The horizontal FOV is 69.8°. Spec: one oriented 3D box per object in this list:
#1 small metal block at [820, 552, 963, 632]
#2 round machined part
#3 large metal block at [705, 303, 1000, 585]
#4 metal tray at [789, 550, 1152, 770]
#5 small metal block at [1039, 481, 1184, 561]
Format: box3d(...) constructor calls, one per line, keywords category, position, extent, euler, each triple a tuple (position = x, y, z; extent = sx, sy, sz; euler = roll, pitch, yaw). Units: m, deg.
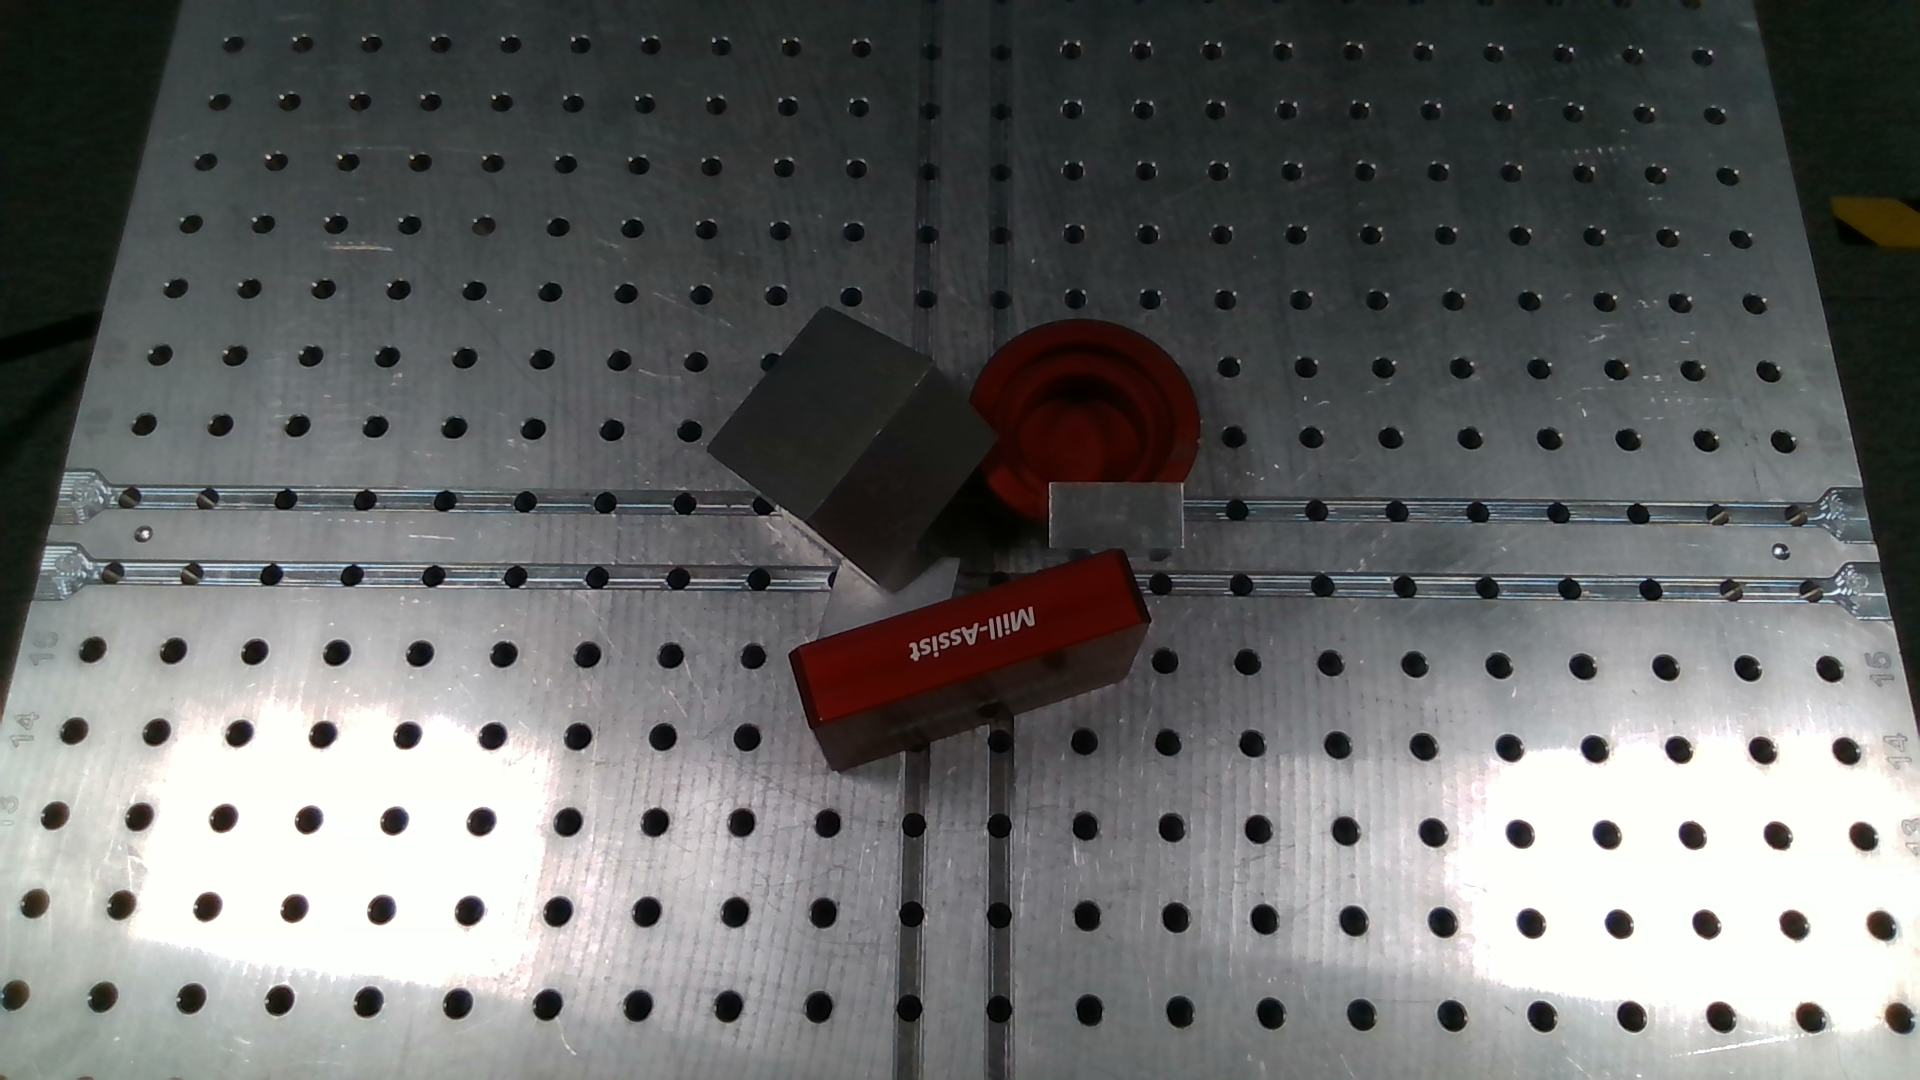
box3d(category="small metal block", position=(-0.028, 0.032, 0.574), extent=(0.050, 0.025, 0.050), euler=(9, 59, 8))
box3d(category="round machined part", position=(0.052, -0.043, 0.597), extent=(0.098, 0.042, 0.098), euler=(0, 70, 0))
box3d(category="large metal block", position=(-0.045, -0.041, 0.568), extent=(0.080, 0.050, 0.080), euler=(-52, 46, -5))
box3d(category="metal tray", position=(0.004, 0.049, 0.538), extent=(0.130, 0.090, 0.030), euler=(-17, 71, -6))
box3d(category="small metal block", position=(0.058, -0.007, 0.536), extent=(0.050, 0.050, 0.025), euler=(0, 84, -1))
